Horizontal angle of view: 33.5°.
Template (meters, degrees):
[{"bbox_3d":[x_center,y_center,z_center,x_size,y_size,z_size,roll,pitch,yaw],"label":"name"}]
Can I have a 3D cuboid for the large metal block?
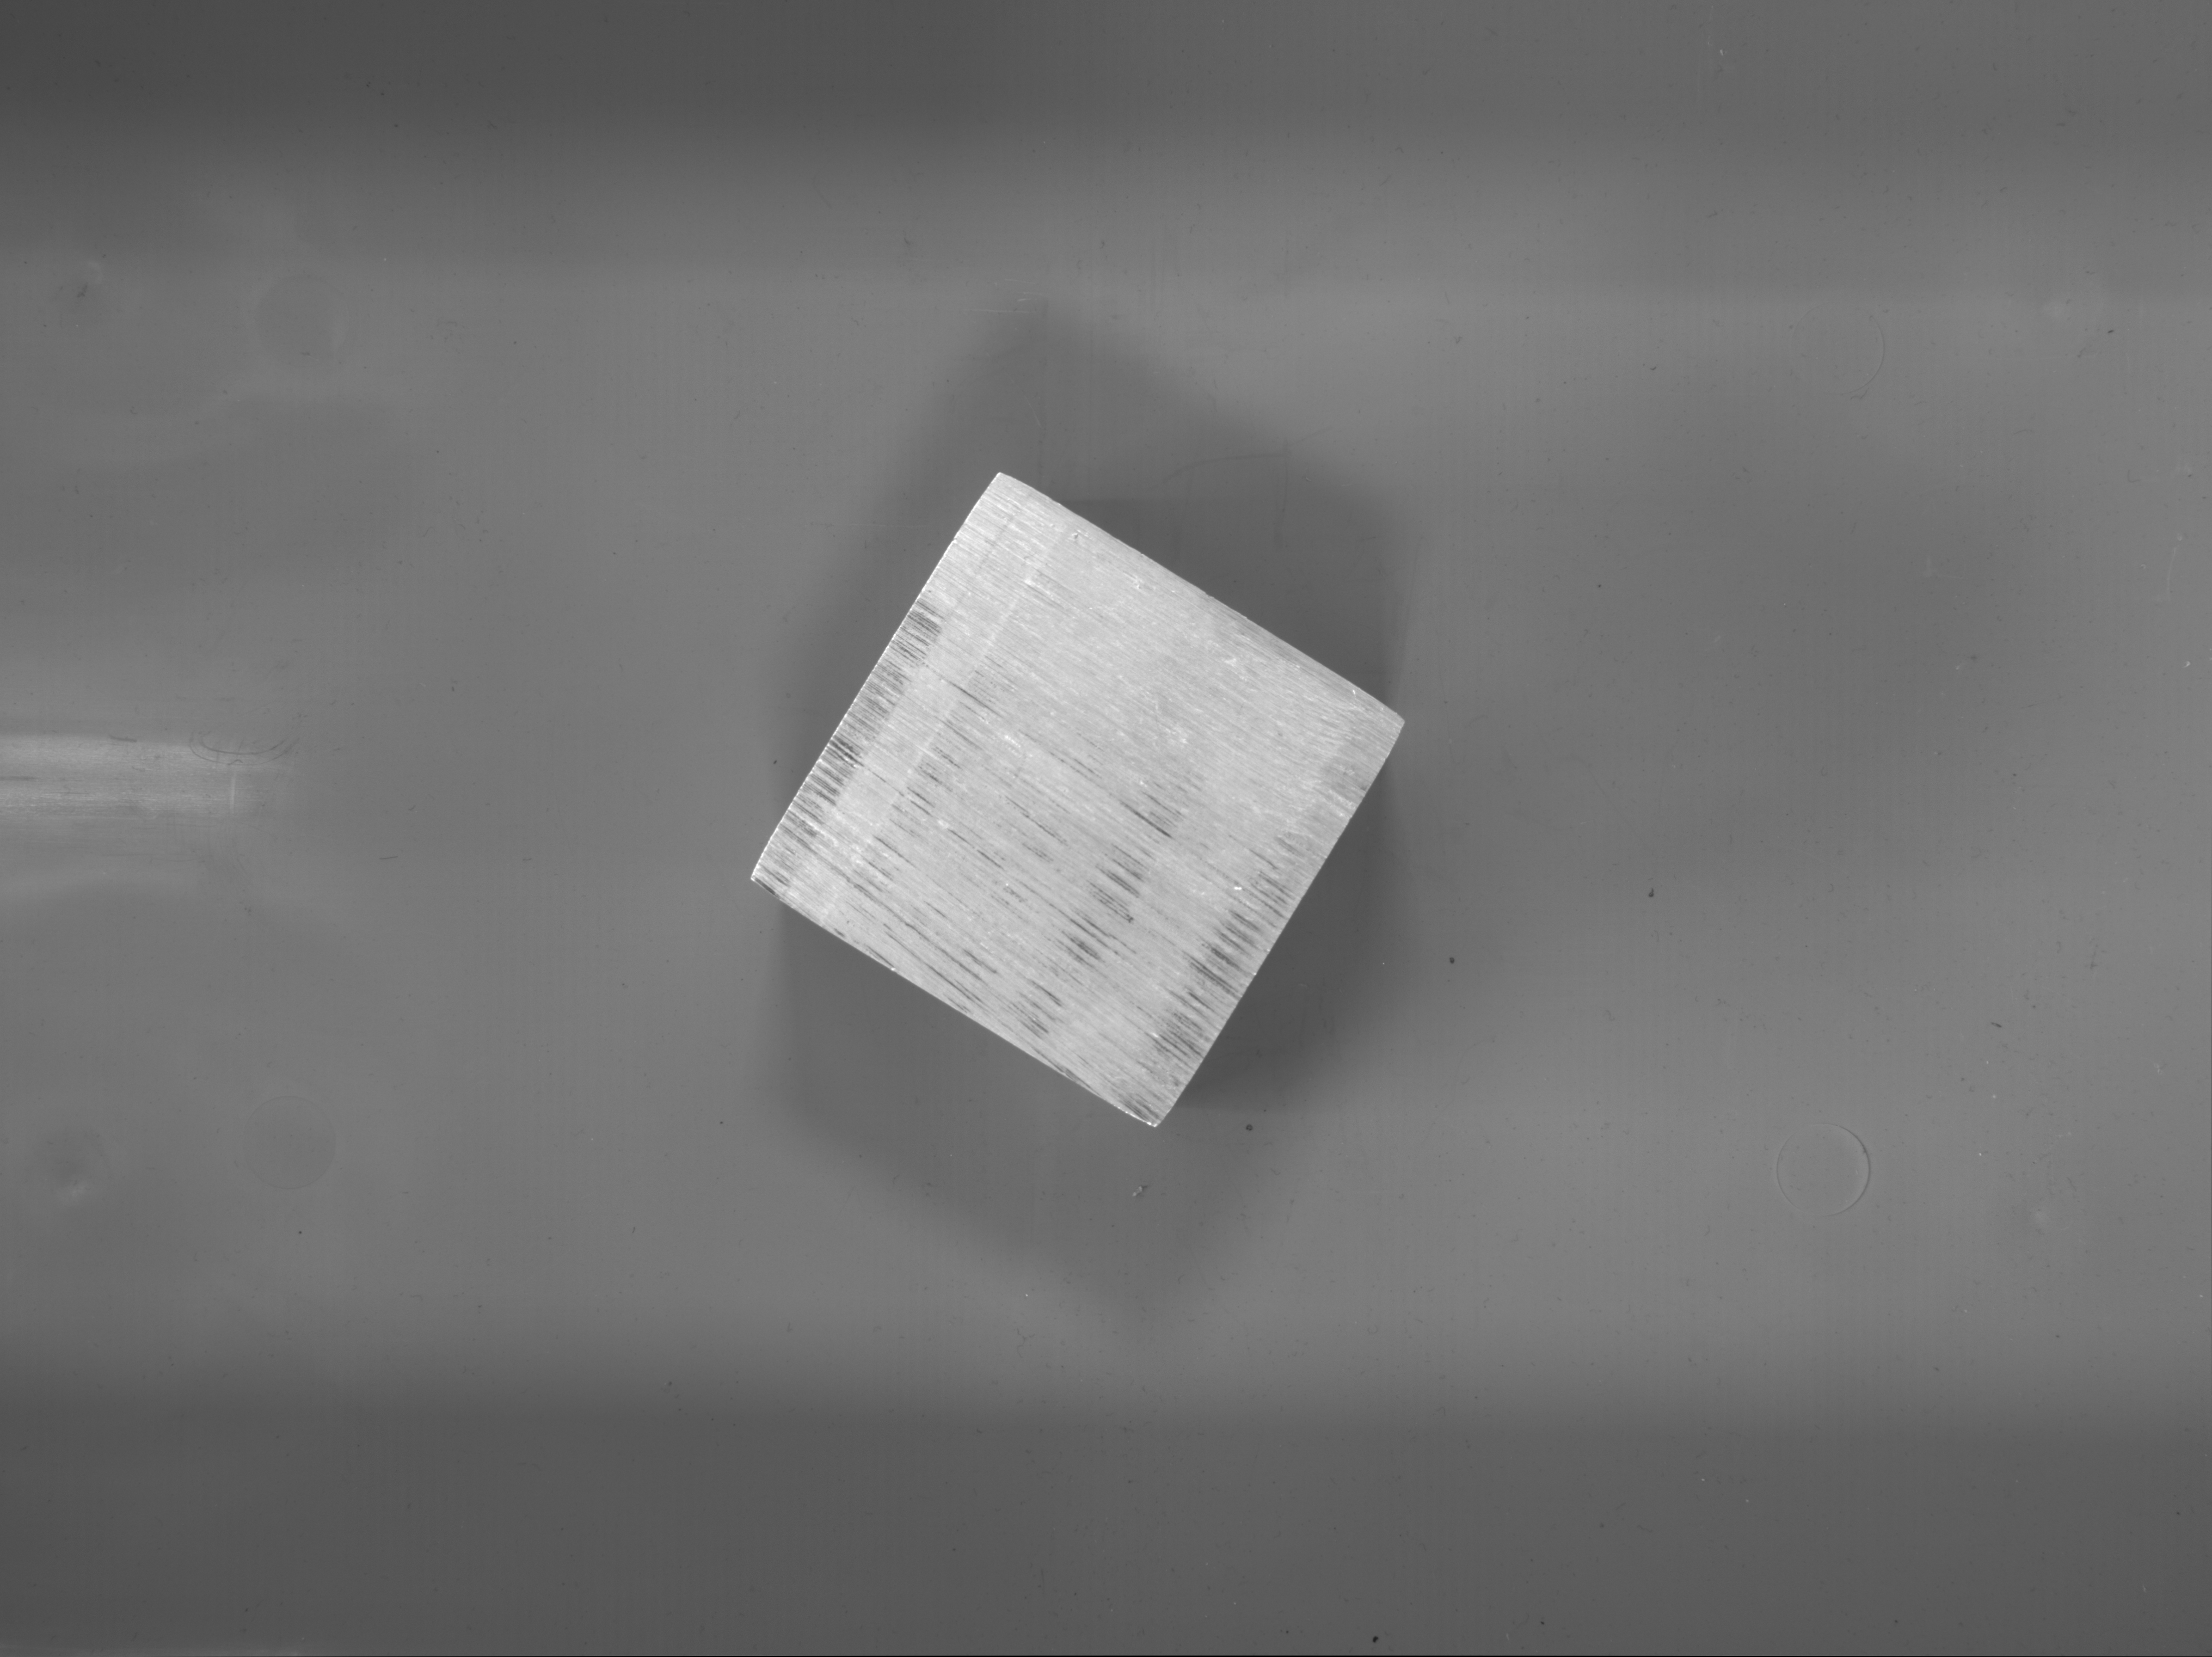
[{"bbox_3d":[-0.005,-0.005,0.630,0.080,0.050,0.080,32,89,0],"label":"large metal block"}]
